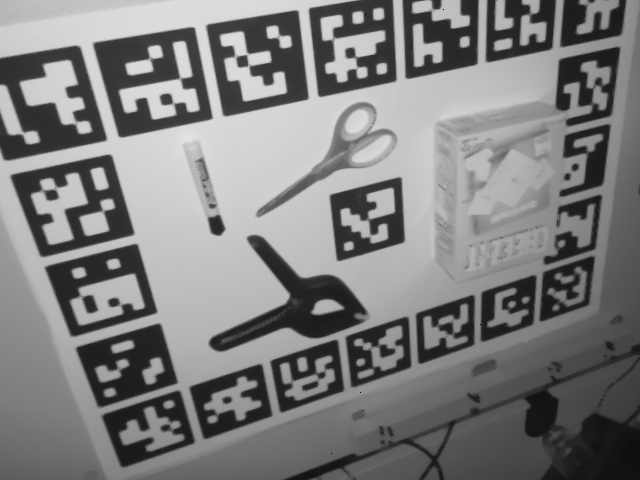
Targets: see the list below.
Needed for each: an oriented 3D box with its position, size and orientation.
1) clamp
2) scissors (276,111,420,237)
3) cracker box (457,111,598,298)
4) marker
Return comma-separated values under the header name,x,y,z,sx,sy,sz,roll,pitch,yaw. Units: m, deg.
name,x,y,z,sx,sy,sz,roll,pitch,yaw
clamp,0.002,0.105,0.911,0.205,0.036,0.164,14,111,-27
scissors,0.029,-0.066,0.827,0.202,0.016,0.088,-39,125,4
cracker box,0.266,-0.044,0.903,0.166,0.072,0.212,-14,120,-14
marker,-0.106,-0.033,0.788,0.020,0.019,0.120,-19,122,-11
